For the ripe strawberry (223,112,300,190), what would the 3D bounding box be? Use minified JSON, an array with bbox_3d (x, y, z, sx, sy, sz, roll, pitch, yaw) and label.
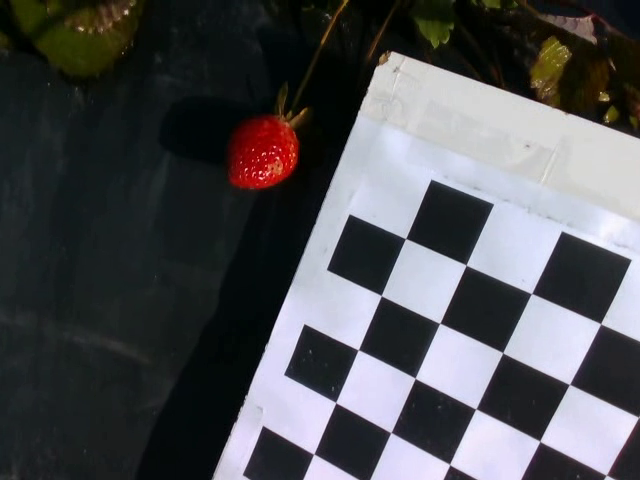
[{"bbox_3d":[-0.022,-0.028,0.205,0.034,0.033,0.038,23,49,14],"label":"ripe strawberry"}]
